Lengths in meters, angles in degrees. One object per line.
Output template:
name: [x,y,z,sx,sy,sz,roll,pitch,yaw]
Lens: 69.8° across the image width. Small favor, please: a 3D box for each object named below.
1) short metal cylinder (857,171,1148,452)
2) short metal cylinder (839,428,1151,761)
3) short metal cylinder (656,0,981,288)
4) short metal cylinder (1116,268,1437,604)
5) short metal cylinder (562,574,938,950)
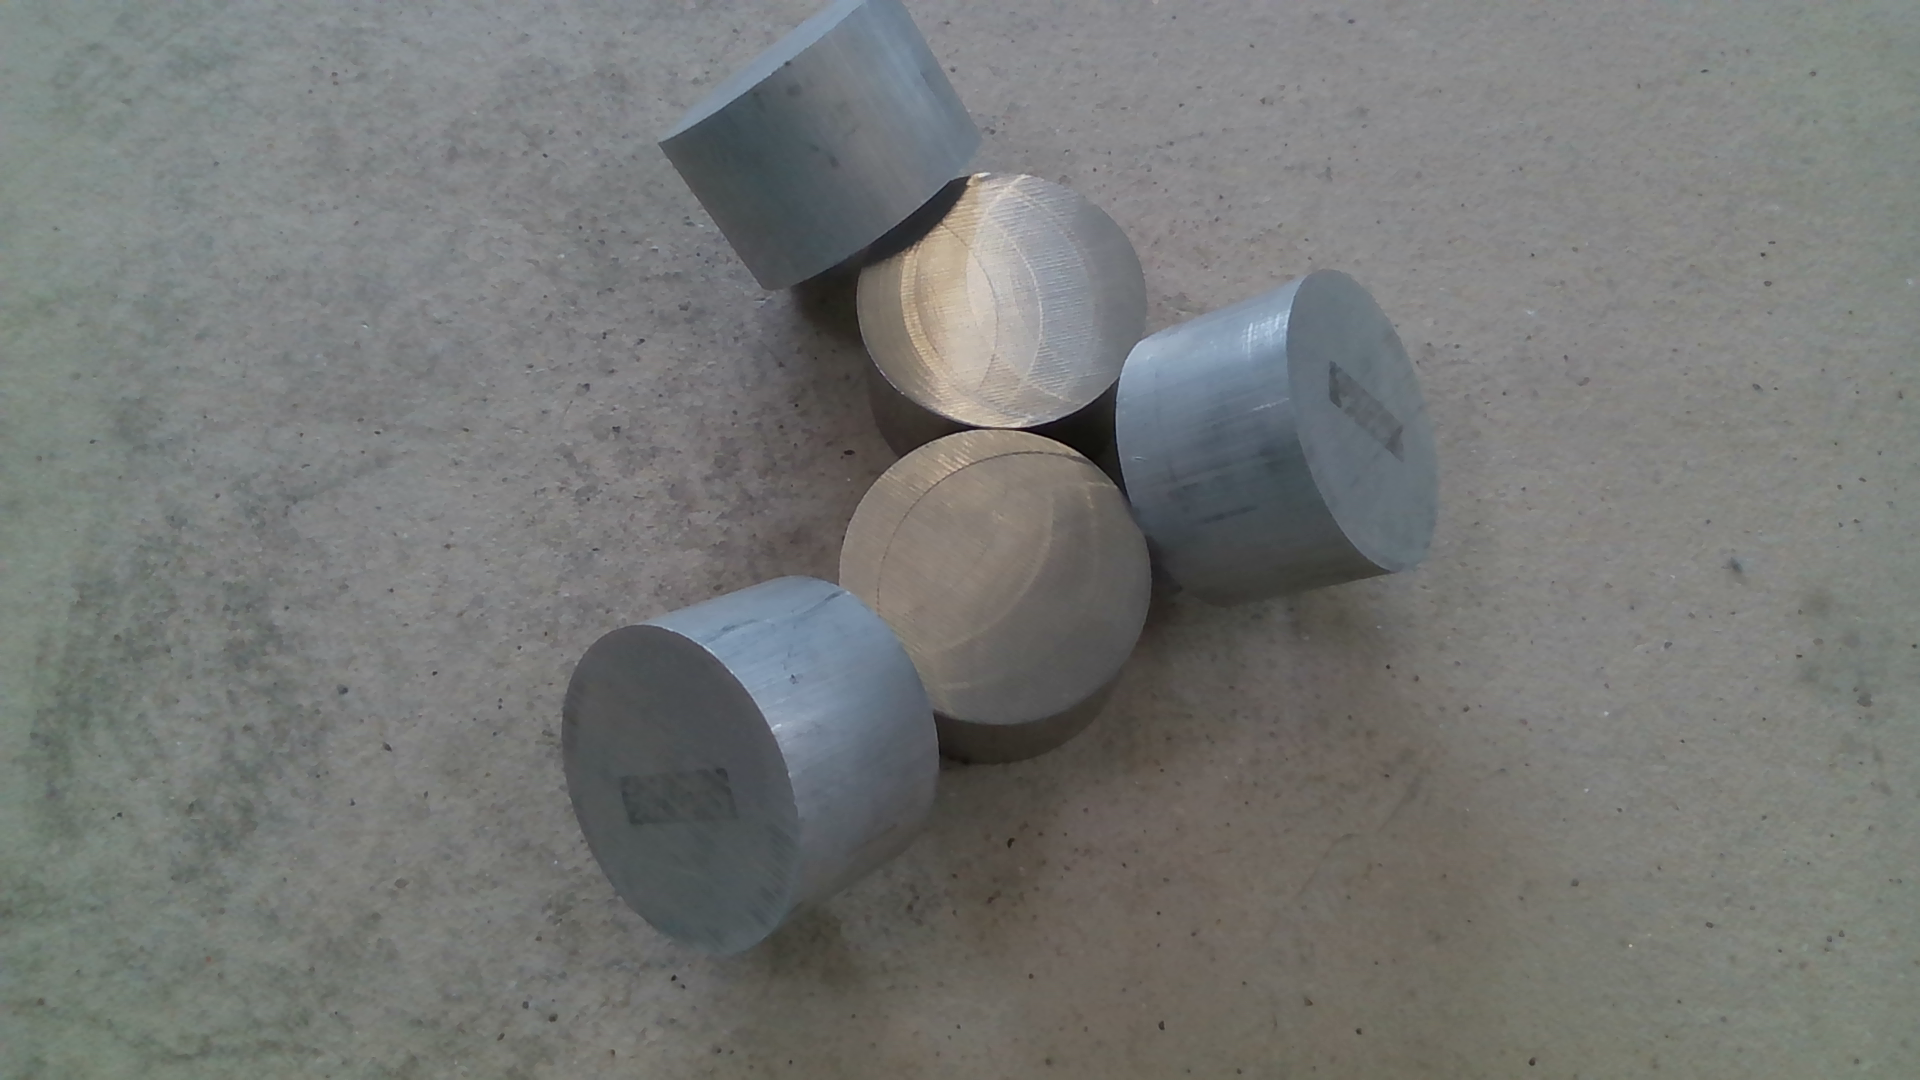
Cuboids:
short metal cylinder: [0.012,-0.059,0.403,0.080,0.050,0.080,0,70,0]
short metal cylinder: [0.009,0.016,0.377,0.080,0.050,0.080,0,70,0]
short metal cylinder: [-0.041,-0.118,0.402,0.080,0.080,0.050,-42,115,-13]
short metal cylinder: [0.086,-0.026,0.369,0.050,0.080,0.080,-16,64,40]
short metal cylinder: [-0.053,0.053,0.341,0.080,0.080,0.050,51,36,16]
